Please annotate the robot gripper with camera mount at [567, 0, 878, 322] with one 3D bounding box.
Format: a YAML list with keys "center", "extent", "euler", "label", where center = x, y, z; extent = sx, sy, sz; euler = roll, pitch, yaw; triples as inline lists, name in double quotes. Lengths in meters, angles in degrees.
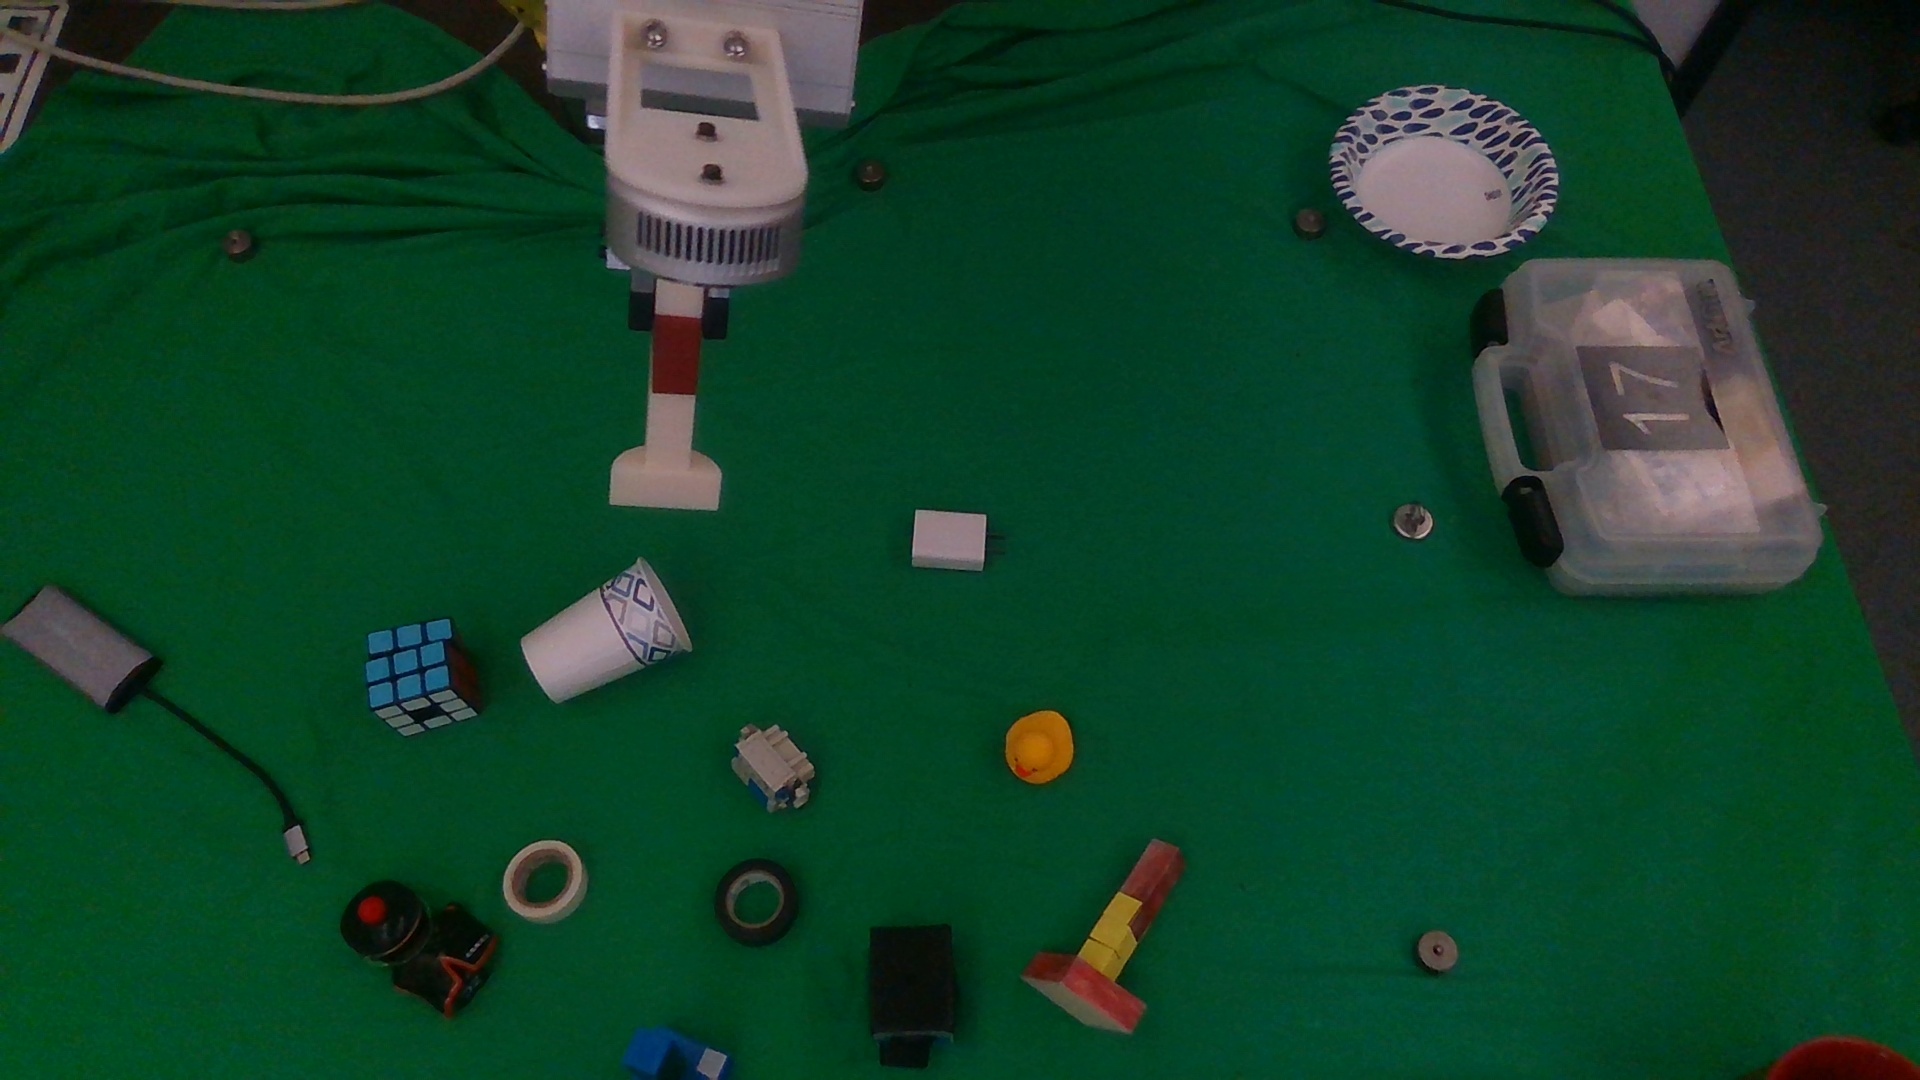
- center: [-0.089, -0.127, 0.516]
  extent: [0.119, 0.158, 0.193]
  euler: [4, 32, -15]
  label: "robot gripper with camera mount"

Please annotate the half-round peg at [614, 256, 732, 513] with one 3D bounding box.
- center: [-0.128, -0.069, 0.624]
  extent: [0.054, 0.122, 0.031]
  euler: [-4, 39, -23]
  label: "half-round peg"
